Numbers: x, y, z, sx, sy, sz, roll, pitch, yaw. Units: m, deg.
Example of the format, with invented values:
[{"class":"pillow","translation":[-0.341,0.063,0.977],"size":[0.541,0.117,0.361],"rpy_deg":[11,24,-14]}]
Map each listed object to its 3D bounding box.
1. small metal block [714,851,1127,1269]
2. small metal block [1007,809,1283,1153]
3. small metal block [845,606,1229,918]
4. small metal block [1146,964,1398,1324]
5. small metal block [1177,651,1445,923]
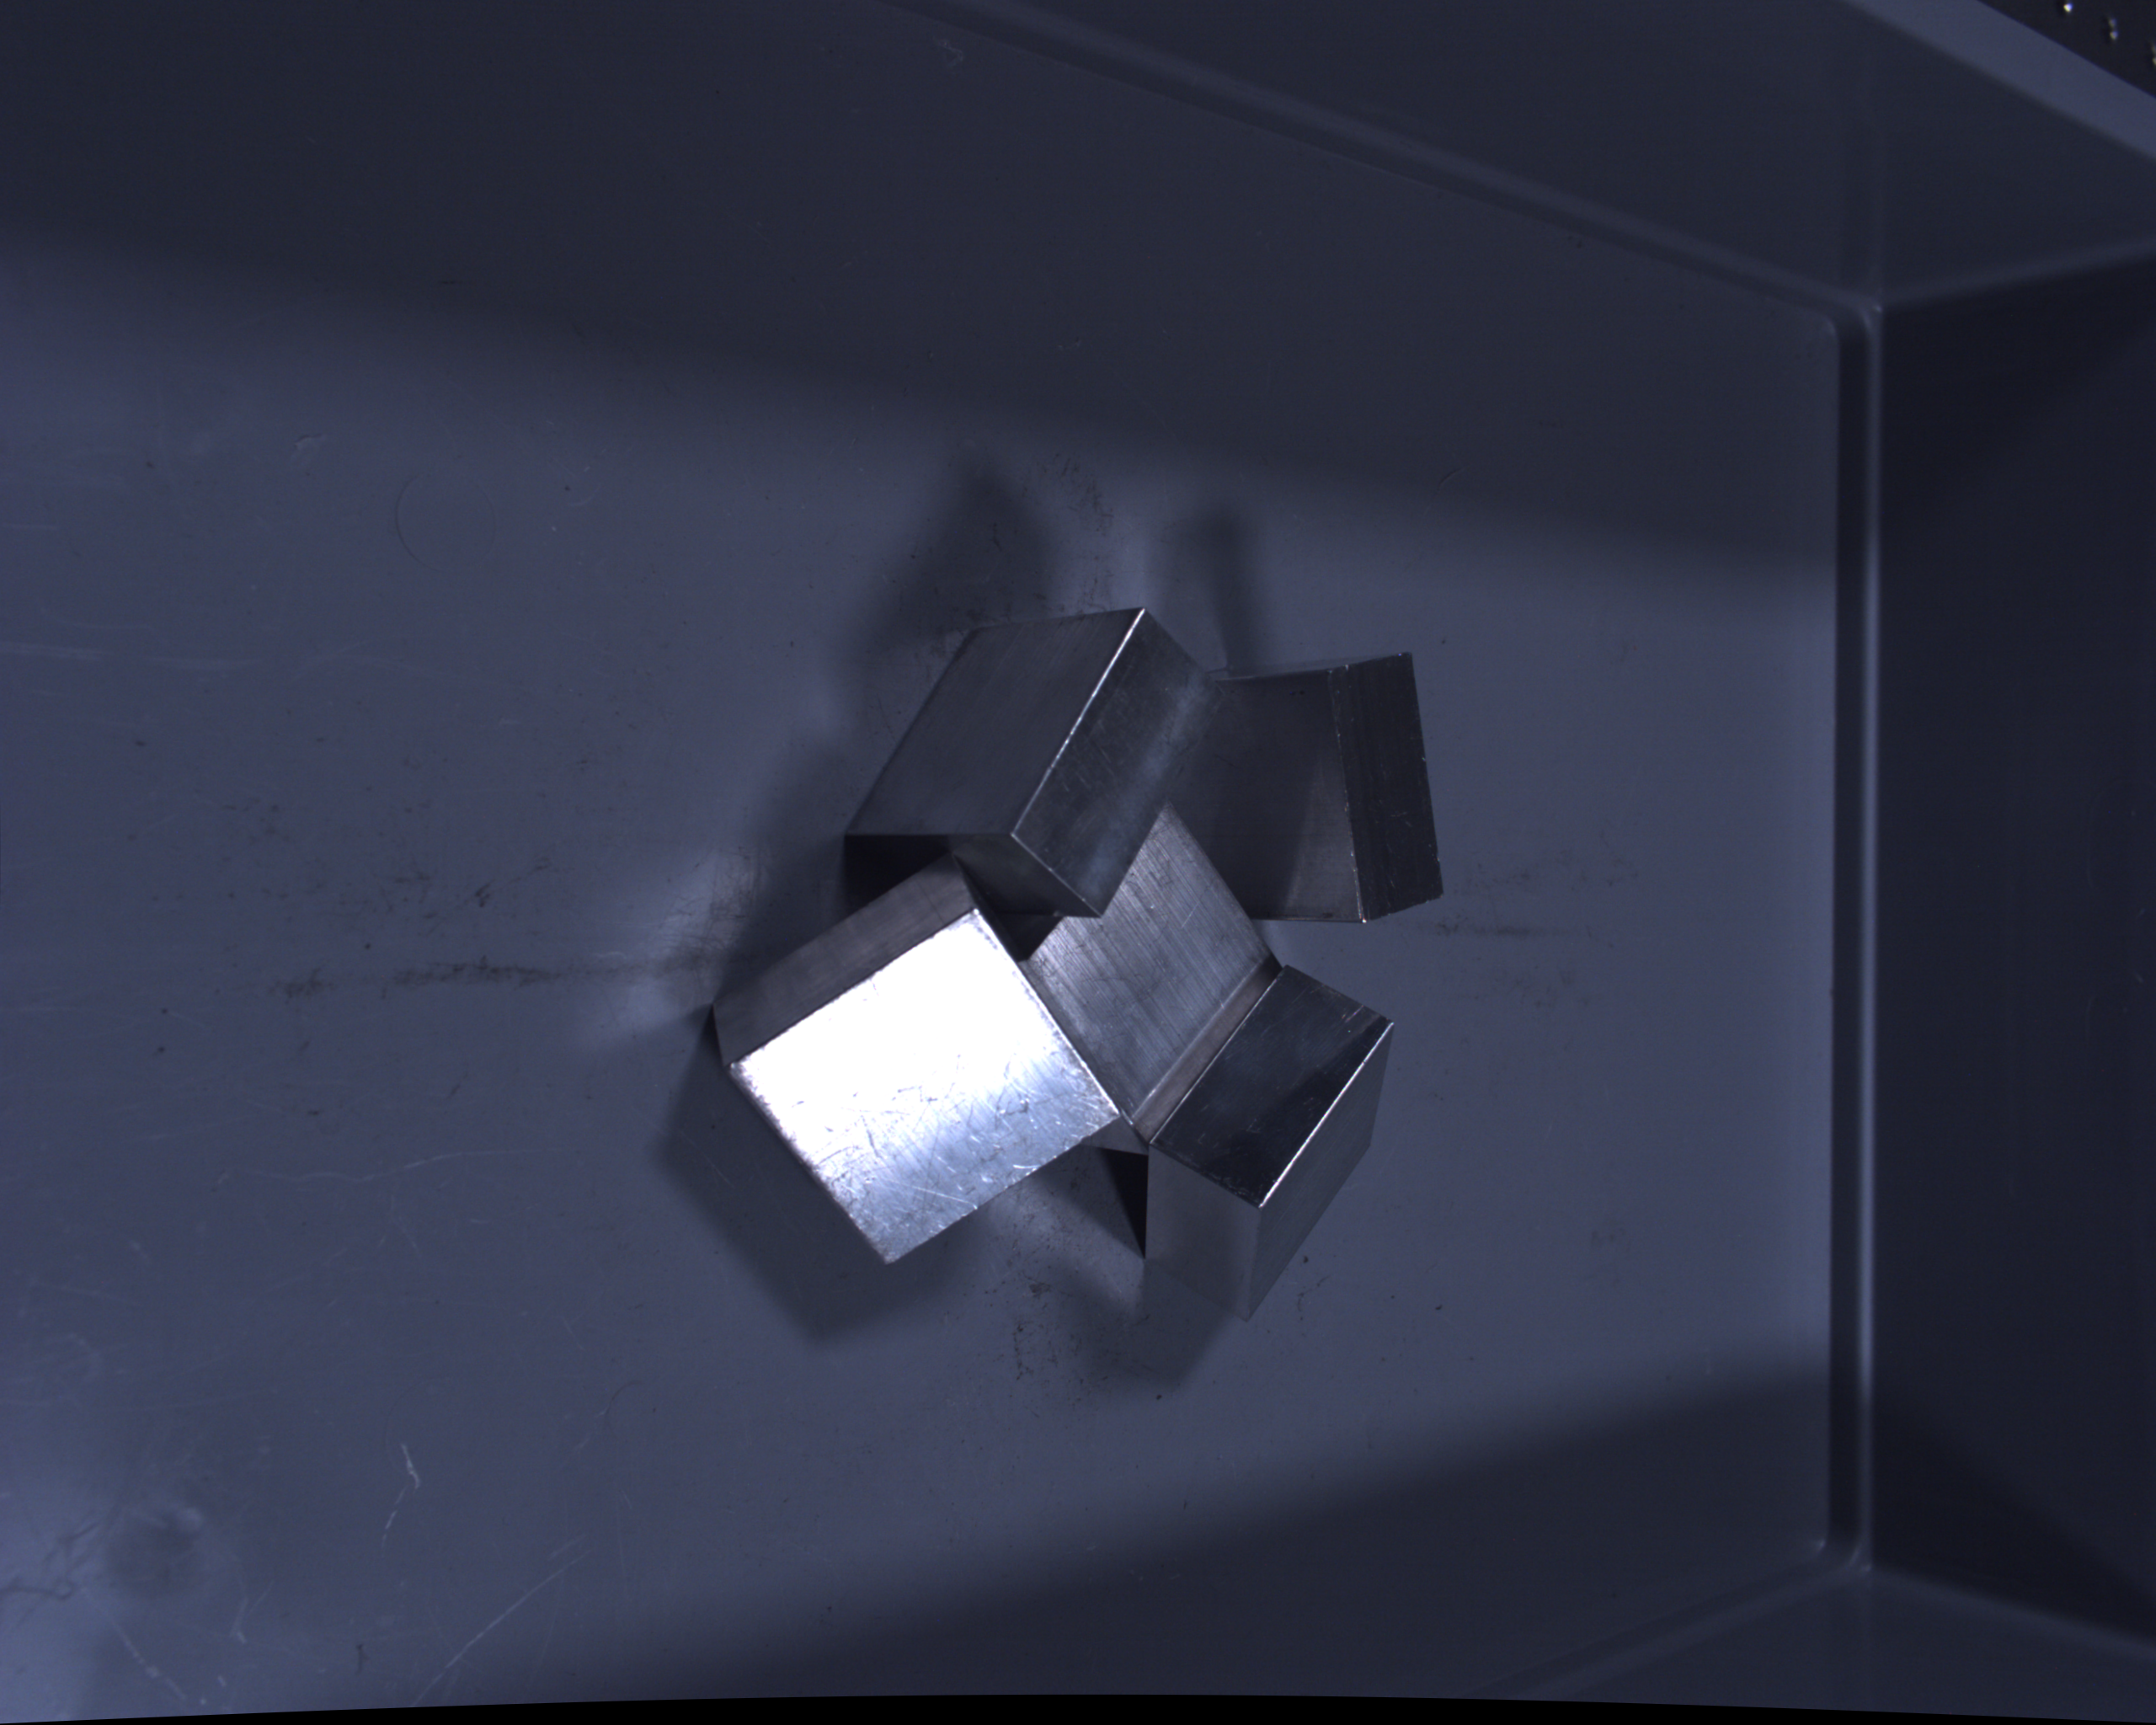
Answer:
[{"class":"small metal block","translation":[-0.028,0.035,0.368],"size":[0.050,0.025,0.050],"rpy_deg":[-33,115,0]},{"class":"small metal block","translation":[0.007,0.021,0.412],"size":[0.050,0.025,0.050],"rpy_deg":[-50,120,-29]},{"class":"small metal block","translation":[-0.008,-0.018,0.383],"size":[0.025,0.050,0.050],"rpy_deg":[44,63,-31]},{"class":"small metal block","translation":[0.039,0.057,0.422],"size":[0.050,0.025,0.050],"rpy_deg":[-49,156,-29]},{"class":"small metal block","translation":[0.044,-0.015,0.427],"size":[0.025,0.050,0.050],"rpy_deg":[-15,100,-40]}]
